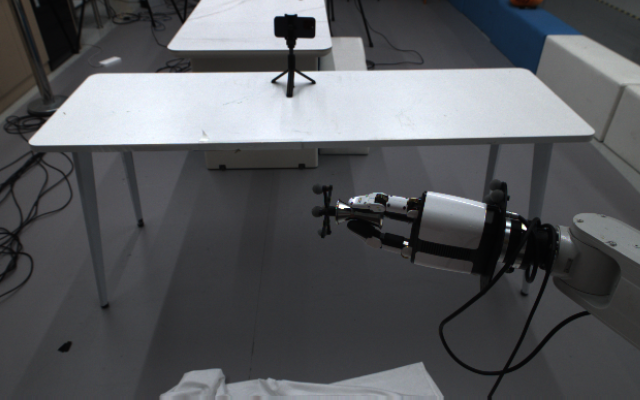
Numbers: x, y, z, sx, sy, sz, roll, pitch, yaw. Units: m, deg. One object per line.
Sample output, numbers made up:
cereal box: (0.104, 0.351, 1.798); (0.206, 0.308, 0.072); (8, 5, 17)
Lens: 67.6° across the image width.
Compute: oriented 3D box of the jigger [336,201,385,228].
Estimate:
jigger: (0.067, 0.016, 0.732); (0.071, 0.043, 0.043); (3, 34, 13)
